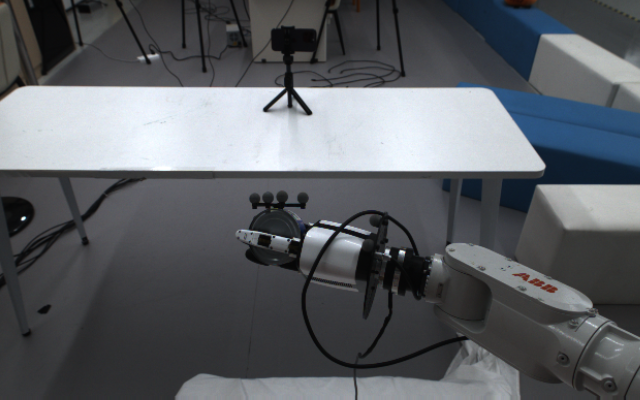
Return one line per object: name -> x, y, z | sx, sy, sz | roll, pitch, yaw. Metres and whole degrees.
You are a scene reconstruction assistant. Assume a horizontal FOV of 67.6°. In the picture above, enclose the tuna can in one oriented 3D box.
tuna can -> -0.064, 0.056, 0.738 | 0.085, 0.085, 0.034 | 15, 1, 18
